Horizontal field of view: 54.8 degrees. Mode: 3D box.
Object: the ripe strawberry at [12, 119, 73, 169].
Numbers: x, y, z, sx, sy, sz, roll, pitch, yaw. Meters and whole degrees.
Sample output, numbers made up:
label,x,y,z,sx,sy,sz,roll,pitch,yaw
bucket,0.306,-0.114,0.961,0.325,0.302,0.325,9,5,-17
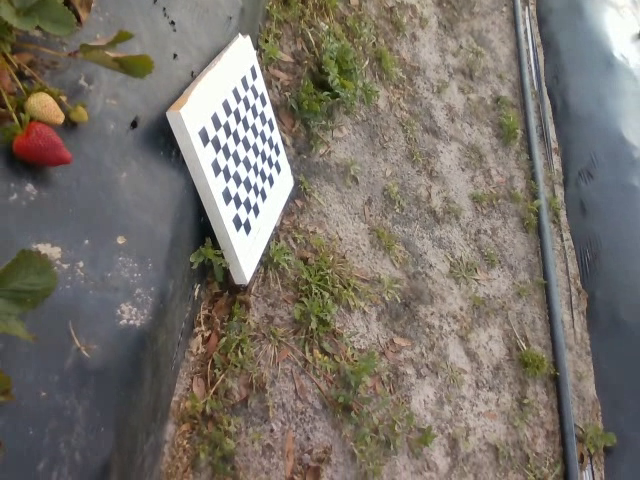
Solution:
label,x,y,z,sx,sy,sz,roll,pitch,yaw
ripe strawberry,-0.268,-0.093,0.599,0.059,0.050,0.034,25,-42,-12
